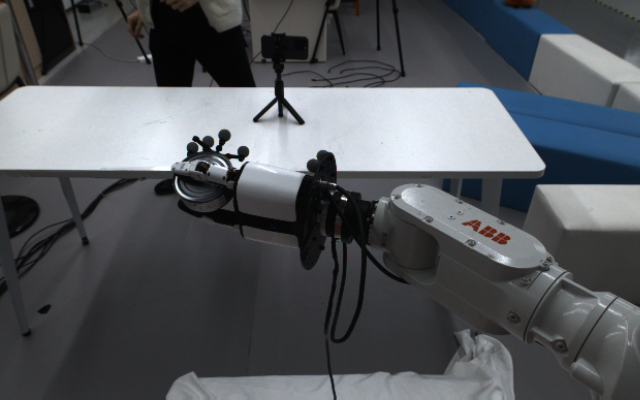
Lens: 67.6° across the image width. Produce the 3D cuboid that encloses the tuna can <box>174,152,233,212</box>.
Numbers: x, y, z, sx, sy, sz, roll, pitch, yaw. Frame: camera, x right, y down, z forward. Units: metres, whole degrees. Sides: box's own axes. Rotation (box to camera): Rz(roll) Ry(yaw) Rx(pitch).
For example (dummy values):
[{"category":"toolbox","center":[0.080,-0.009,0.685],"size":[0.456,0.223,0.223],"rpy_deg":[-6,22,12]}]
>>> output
[{"category":"tuna can","center":[-0.162,-0.026,0.684],"size":[0.085,0.034,0.085],"rpy_deg":[-3,57,4]}]
